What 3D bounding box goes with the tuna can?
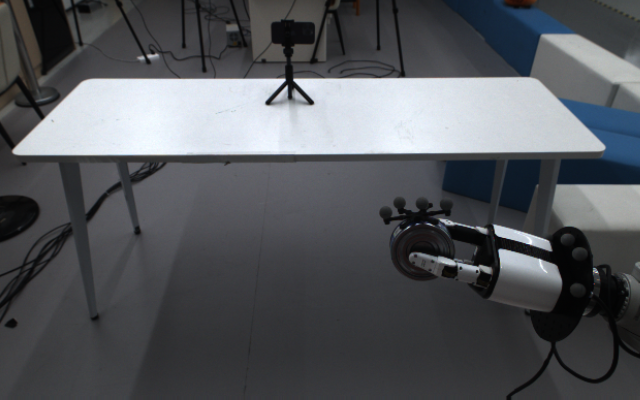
[{"bbox_3d":[0.141,0.064,0.659,0.085,0.085,0.034,6,18,5],"label":"tuna can"}]
